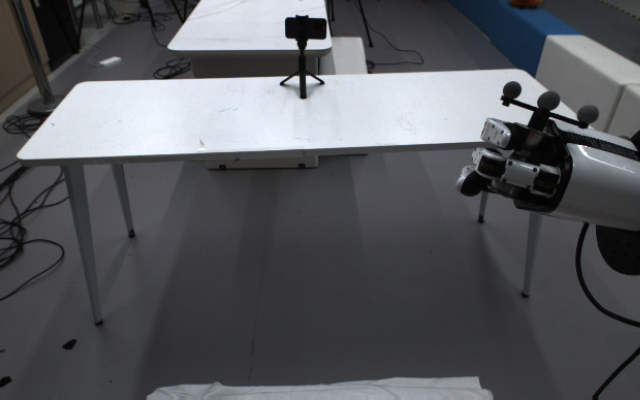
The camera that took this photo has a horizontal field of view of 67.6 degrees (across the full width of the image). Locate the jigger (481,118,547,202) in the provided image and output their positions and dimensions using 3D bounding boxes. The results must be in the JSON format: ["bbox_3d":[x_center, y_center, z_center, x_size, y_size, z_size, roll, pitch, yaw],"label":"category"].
[{"bbox_3d":[0.198,-0.038,0.481,0.043,0.071,0.043,18,17,-6],"label":"jigger"}]
